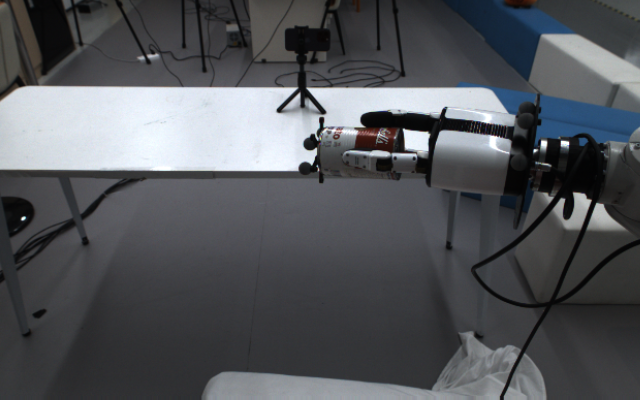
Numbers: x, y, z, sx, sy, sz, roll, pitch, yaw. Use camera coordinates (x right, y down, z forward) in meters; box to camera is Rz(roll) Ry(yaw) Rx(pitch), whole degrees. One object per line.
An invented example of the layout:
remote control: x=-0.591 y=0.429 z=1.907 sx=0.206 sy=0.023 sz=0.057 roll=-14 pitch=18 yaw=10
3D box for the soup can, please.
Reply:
soup can: x=0.057 y=-0.062 z=0.635 sx=0.101 sy=0.067 sz=0.067 roll=4 pitch=34 yaw=18
